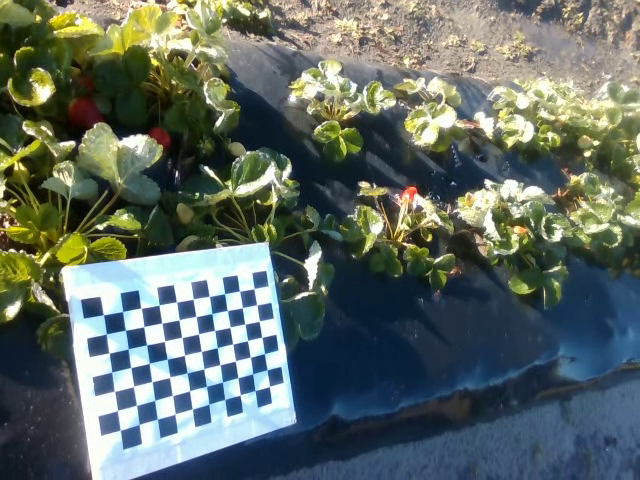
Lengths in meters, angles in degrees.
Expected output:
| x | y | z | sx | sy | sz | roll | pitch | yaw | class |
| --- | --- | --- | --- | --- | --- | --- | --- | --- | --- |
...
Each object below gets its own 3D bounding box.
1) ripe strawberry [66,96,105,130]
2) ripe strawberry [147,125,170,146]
| x | y | z | sx | sy | sz | roll | pitch | yaw | class |
| --- | --- | --- | --- | --- | --- | --- | --- | --- | --- |
| -0.311 | -0.169 | 0.834 | 0.056 | 0.044 | 0.040 | 46 | -35 | -18 | ripe strawberry |
| -0.229 | -0.139 | 0.870 | 0.039 | 0.047 | 0.040 | 36 | -42 | -24 | ripe strawberry |
